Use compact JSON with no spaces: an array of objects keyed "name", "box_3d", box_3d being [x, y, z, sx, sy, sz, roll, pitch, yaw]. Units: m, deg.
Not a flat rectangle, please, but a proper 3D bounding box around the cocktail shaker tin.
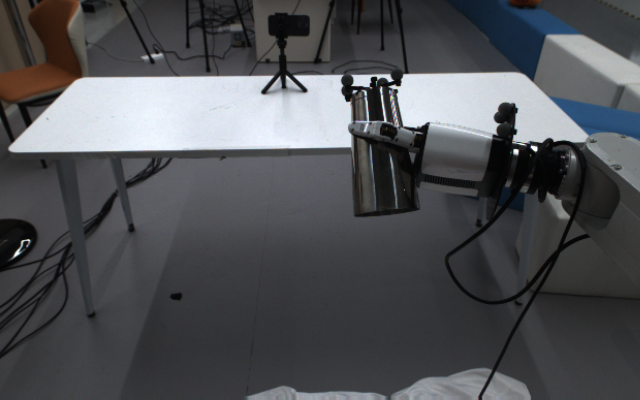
[{"name":"cocktail shaker tin","box_3d":[0.084,-0.066,0.680,0.093,0.170,0.093,-6,-7,-1]}]
